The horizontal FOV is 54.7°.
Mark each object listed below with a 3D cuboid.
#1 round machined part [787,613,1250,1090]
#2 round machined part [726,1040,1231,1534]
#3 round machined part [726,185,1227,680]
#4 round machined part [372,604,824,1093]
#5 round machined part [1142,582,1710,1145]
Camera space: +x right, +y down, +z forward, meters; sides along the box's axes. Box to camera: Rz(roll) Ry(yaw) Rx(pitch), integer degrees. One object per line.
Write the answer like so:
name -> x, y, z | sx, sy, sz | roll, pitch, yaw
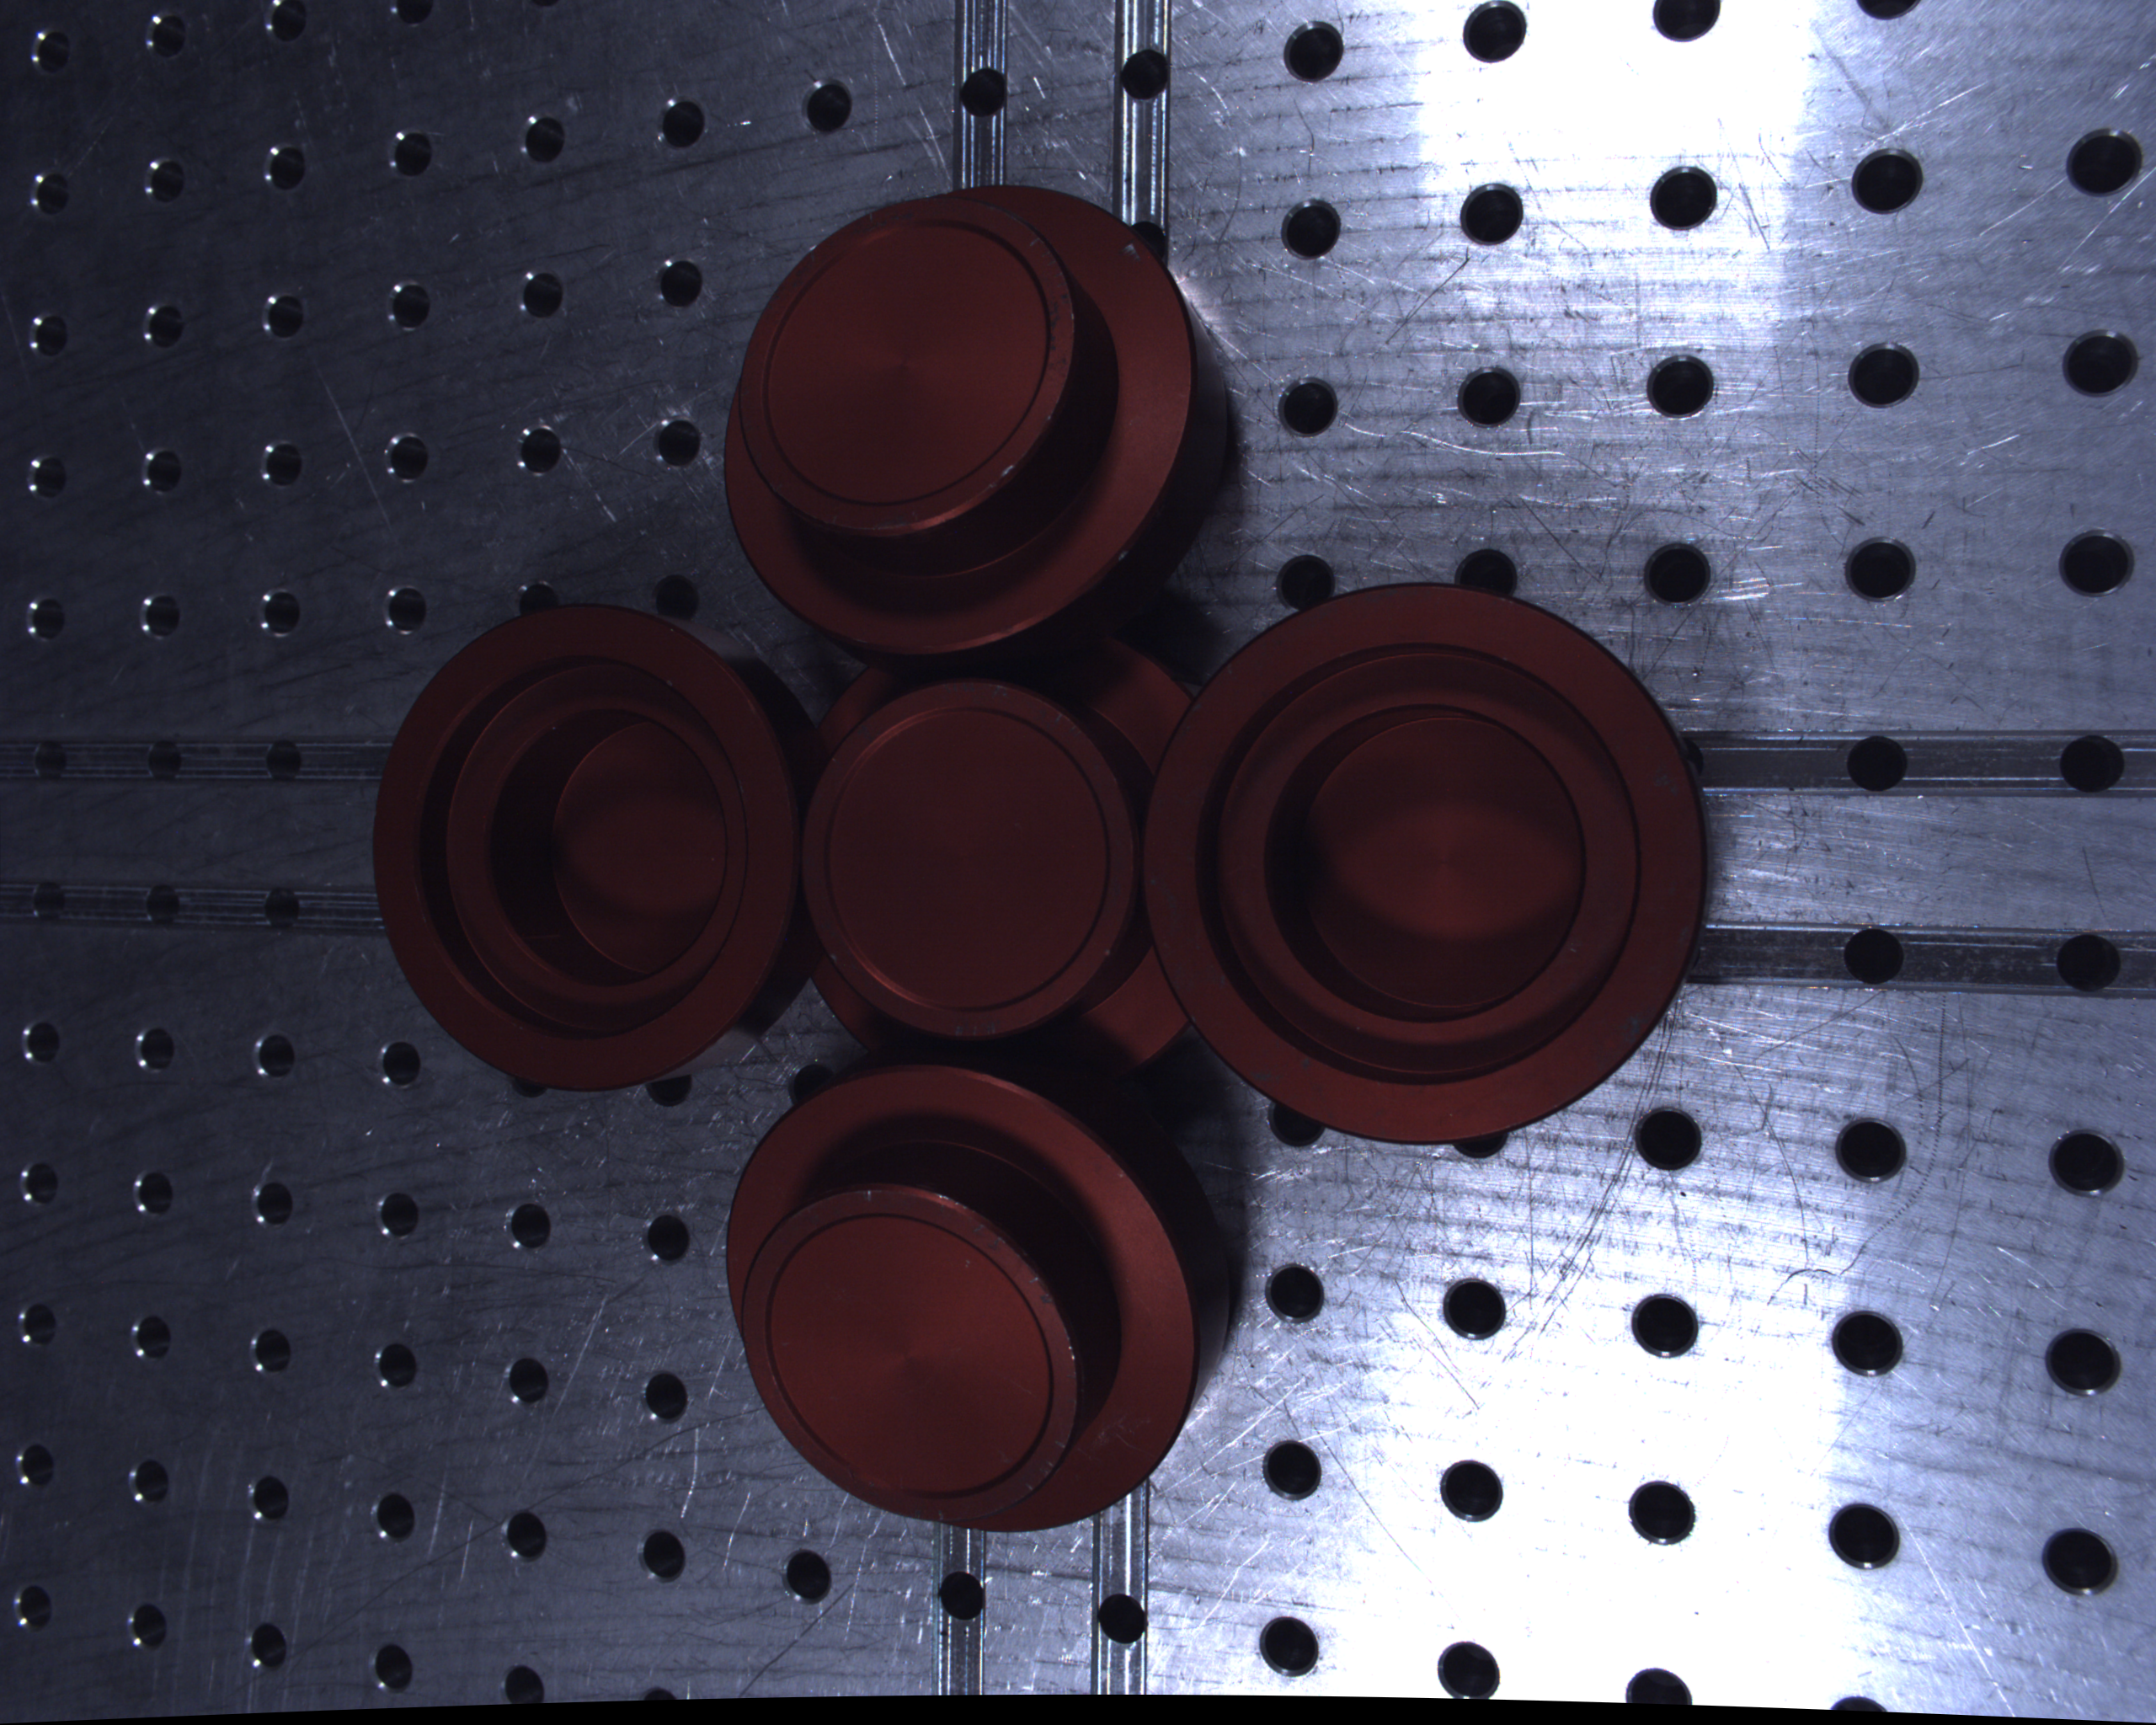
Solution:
round machined part -> -0.015, -0.001, 0.407 | 0.098, 0.042, 0.097 | 0, 90, 19
round machined part -> -0.024, 0.085, 0.399 | 0.098, 0.042, 0.097 | 5, 106, 18
round machined part -> -0.025, -0.086, 0.399 | 0.098, 0.042, 0.098 | -5, 74, 20
round machined part -> -0.093, -0.003, 0.435 | 0.098, 0.042, 0.097 | 0, 90, 19
round machined part -> 0.065, 0.000, 0.380 | 0.098, 0.042, 0.097 | 0, 90, 19
